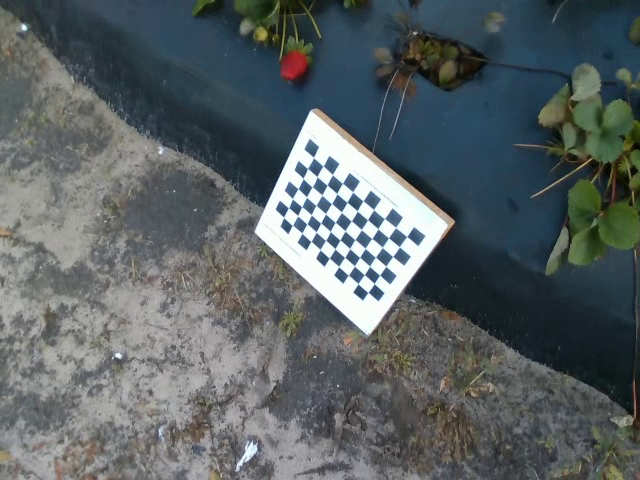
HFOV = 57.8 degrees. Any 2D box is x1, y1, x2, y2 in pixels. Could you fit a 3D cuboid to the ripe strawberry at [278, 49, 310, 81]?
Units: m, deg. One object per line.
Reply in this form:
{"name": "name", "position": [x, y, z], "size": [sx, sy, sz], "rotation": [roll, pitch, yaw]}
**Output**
{"name": "ripe strawberry", "position": [-0.046, -0.266, 0.898], "size": [0.045, 0.055, 0.042], "rotation": [-7, -47, 40]}
